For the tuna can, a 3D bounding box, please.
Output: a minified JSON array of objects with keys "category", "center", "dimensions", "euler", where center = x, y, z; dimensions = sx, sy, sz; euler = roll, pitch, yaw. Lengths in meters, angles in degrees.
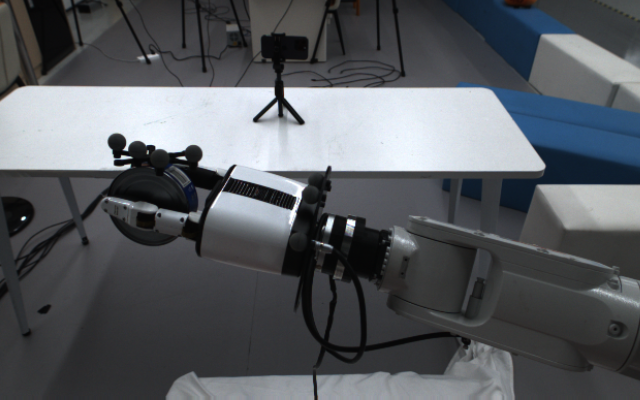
[{"category":"tuna can","center":[-0.171,0.003,0.504],"dimensions":[0.085,0.085,0.034],"euler":[5,17,5]}]
